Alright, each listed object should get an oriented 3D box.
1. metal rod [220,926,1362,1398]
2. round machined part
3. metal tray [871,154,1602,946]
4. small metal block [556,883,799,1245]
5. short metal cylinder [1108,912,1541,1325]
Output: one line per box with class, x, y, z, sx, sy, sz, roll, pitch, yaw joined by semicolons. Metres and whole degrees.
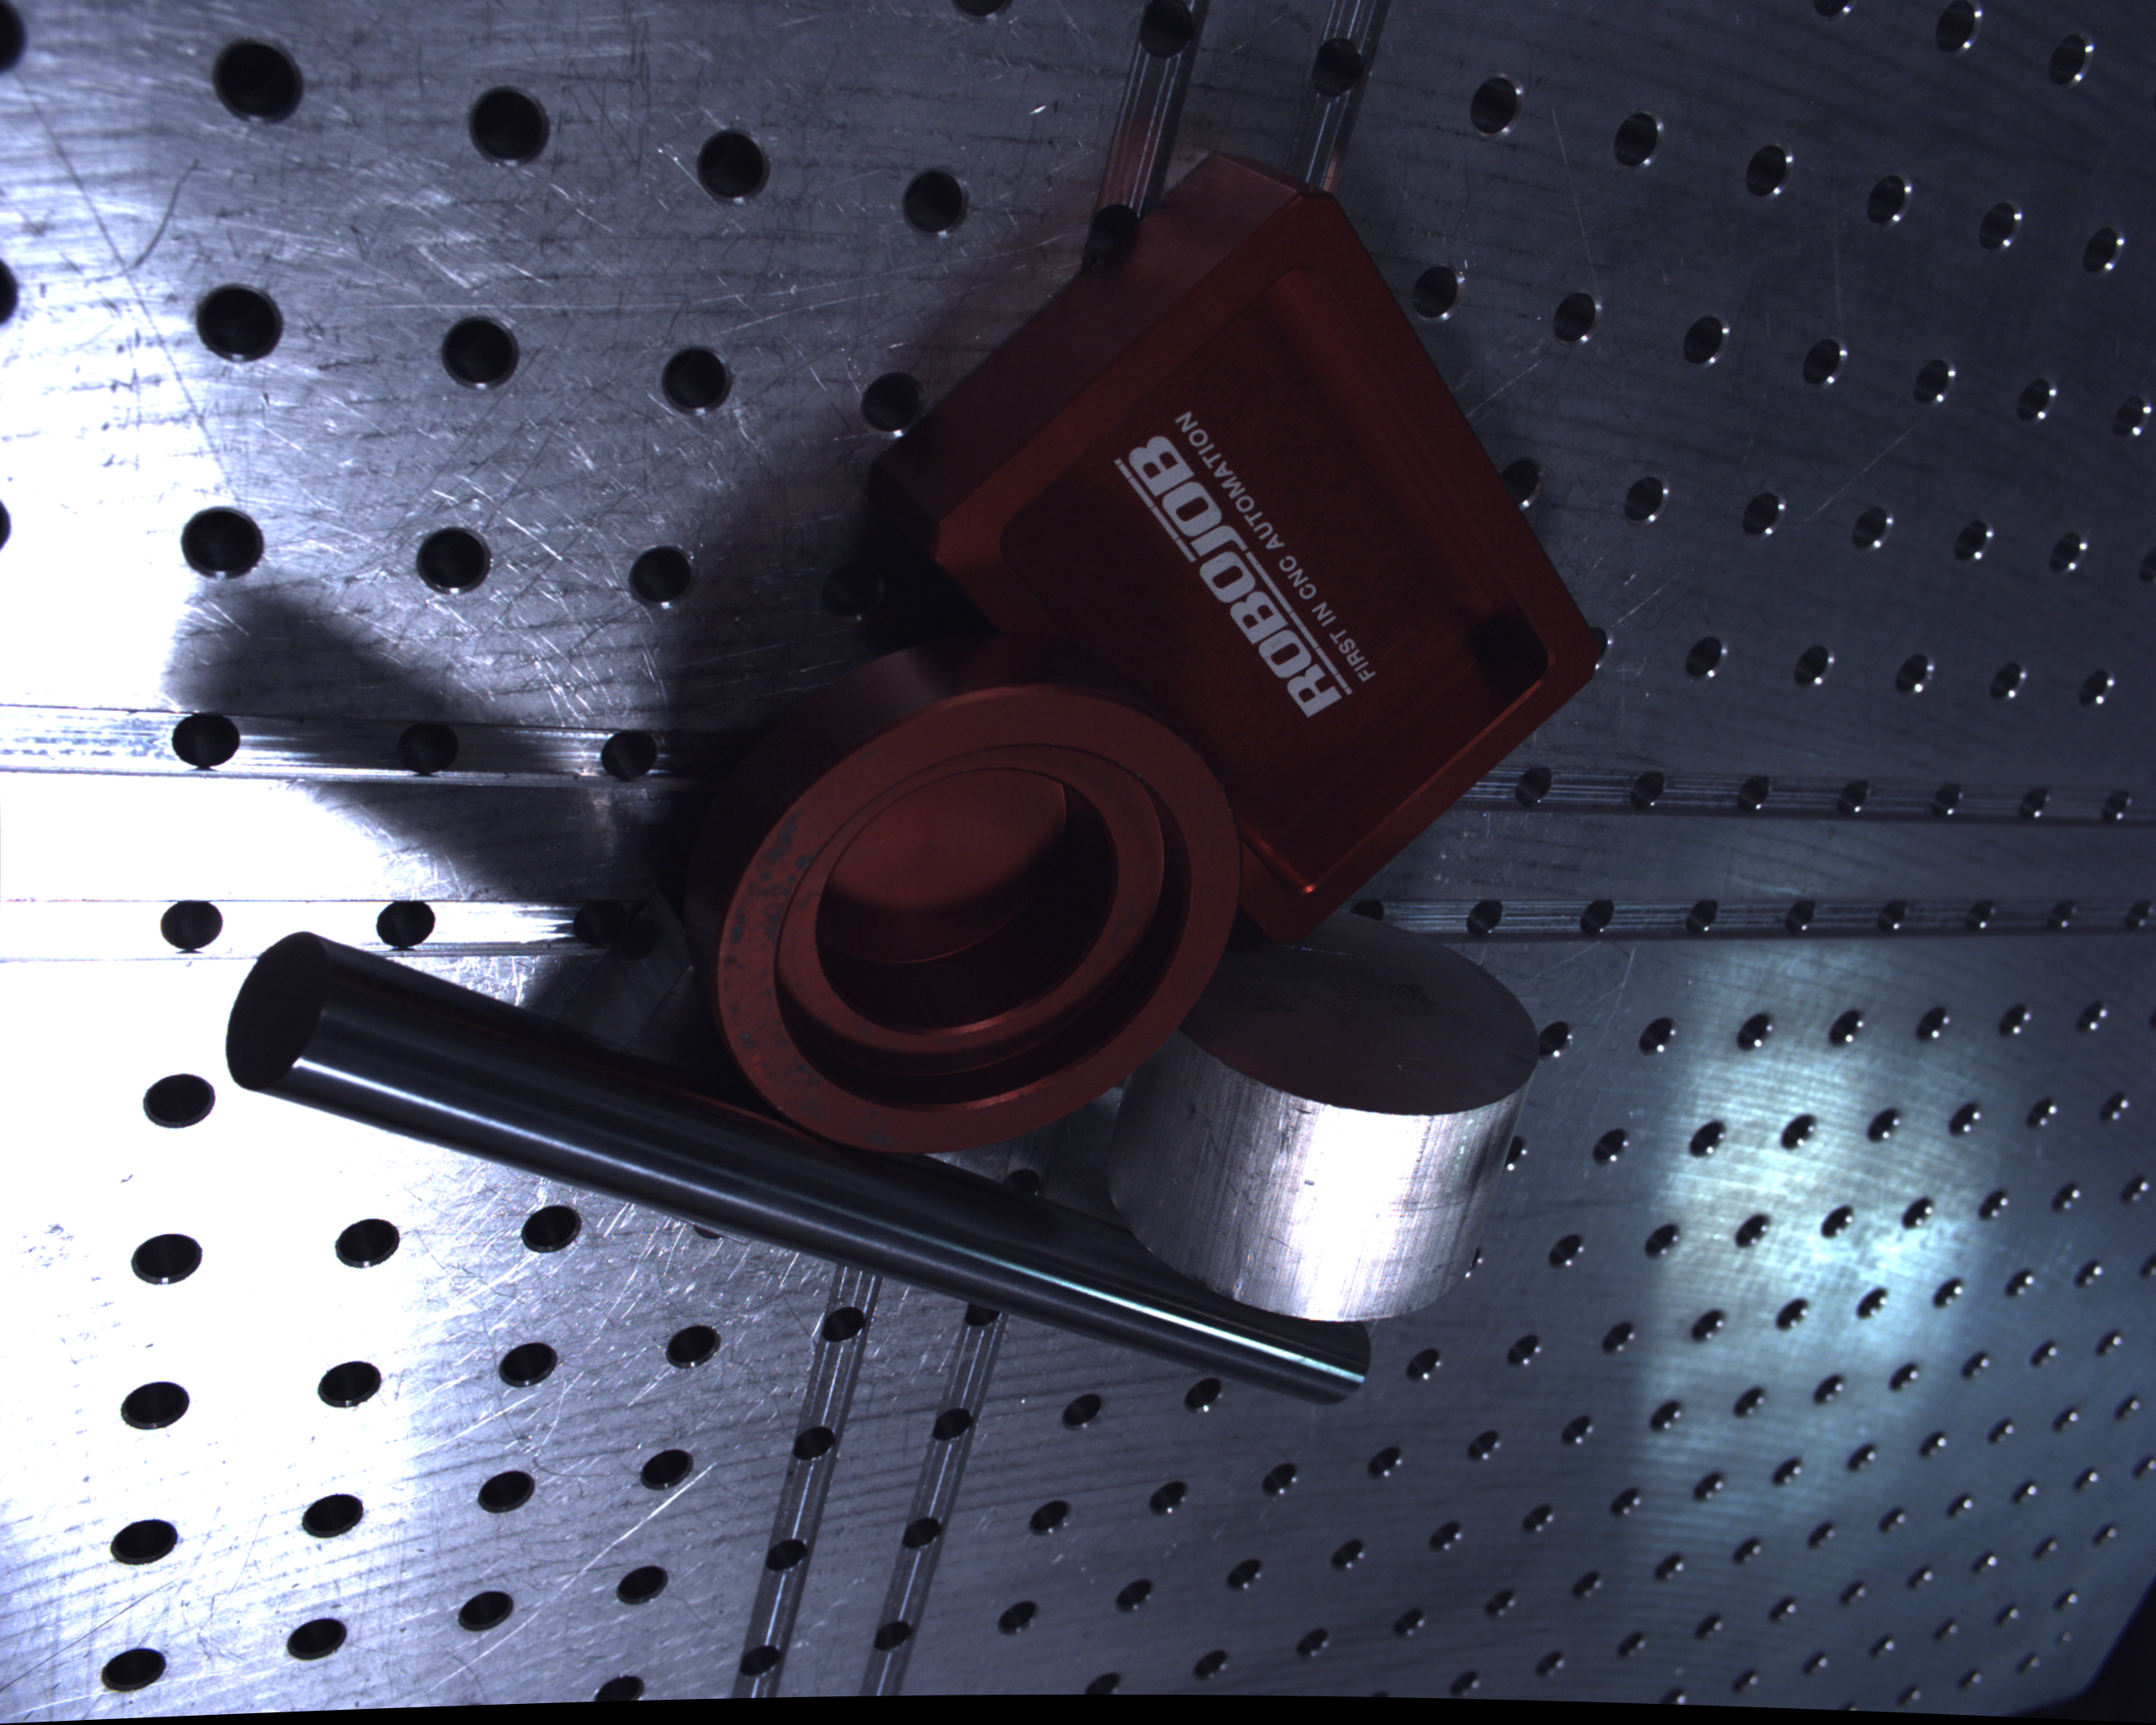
metal rod;-0.029;0.072;0.415;0.025;0.025;0.301;-51;138;8
round machined part;-0.023;0.002;0.380;0.099;0.042;0.097;-13;123;-20
metal tray;0.035;-0.054;0.394;0.090;0.030;0.130;-43;129;0
small metal block;-0.072;0.039;0.398;0.050;0.025;0.050;32;100;-39
short metal cylinder;0.050;0.050;0.434;0.081;0.080;0.050;-4;120;-27
